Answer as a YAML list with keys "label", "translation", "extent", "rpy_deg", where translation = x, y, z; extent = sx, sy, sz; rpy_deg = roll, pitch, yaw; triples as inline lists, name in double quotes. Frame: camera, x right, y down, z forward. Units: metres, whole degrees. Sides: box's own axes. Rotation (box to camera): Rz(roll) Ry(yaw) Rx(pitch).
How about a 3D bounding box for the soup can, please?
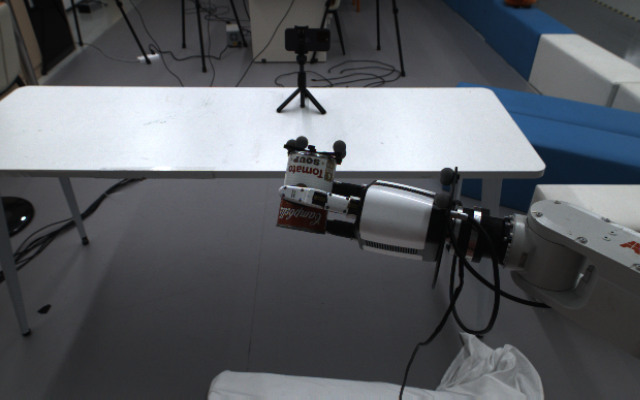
- label: "soup can"
  translation: [-0.017, -0.009, 0.656]
  extent: [0.067, 0.101, 0.067]
  rpy_deg: [9, -5, 1]
